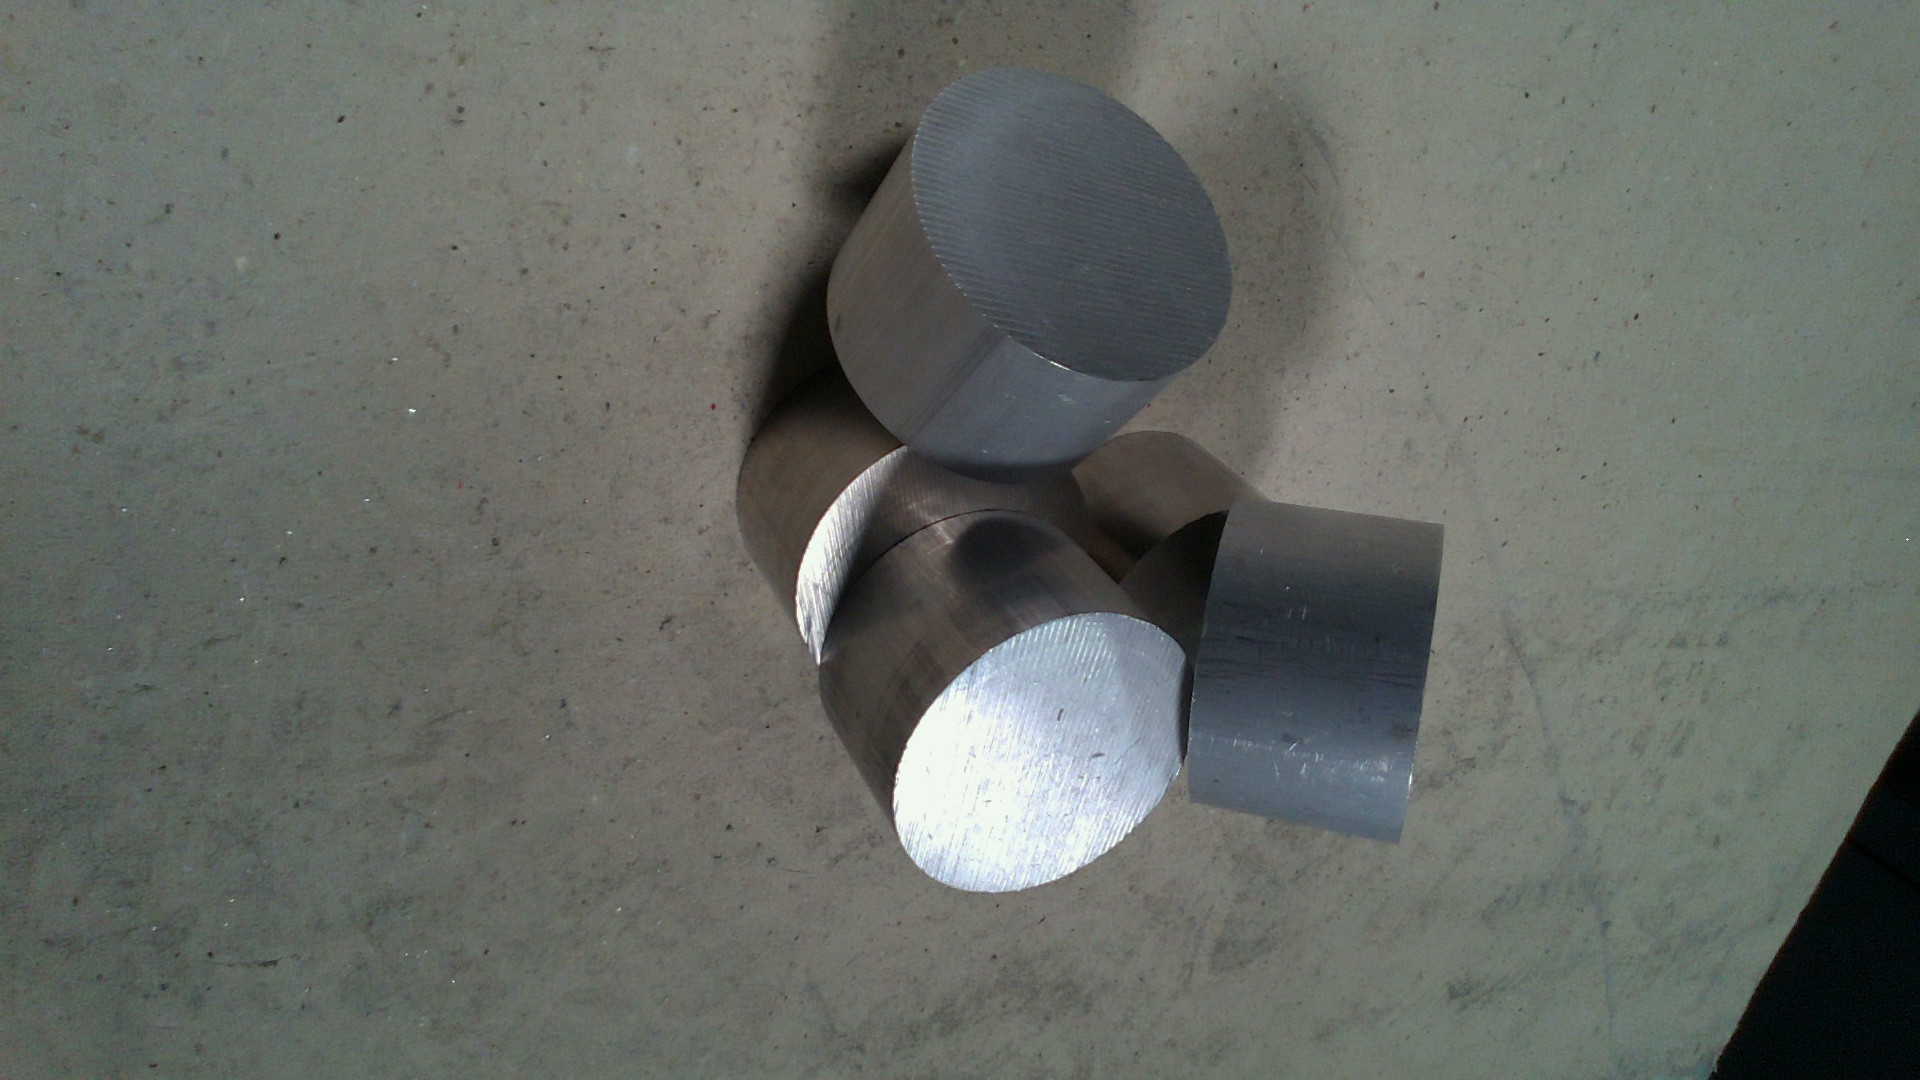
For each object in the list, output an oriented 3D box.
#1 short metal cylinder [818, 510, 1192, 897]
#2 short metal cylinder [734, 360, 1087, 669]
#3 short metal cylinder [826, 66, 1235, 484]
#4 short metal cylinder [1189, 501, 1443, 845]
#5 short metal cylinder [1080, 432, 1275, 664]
[{"bbox_3d":[0.011,0.040,0.338,0.080,0.050,0.080,-14,124,-21],"label":"short metal cylinder"},{"bbox_3d":[-0.014,-0.004,0.363,0.080,0.050,0.080,-14,124,-21],"label":"short metal cylinder"},{"bbox_3d":[0.015,-0.060,0.317,0.080,0.080,0.050,0,157,-28],"label":"short metal cylinder"},{"bbox_3d":[0.091,0.033,0.349,0.050,0.080,0.080,8,124,17],"label":"short metal cylinder"},{"bbox_3d":[0.061,0.014,0.415,0.080,0.050,0.080,-14,124,-21],"label":"short metal cylinder"}]
